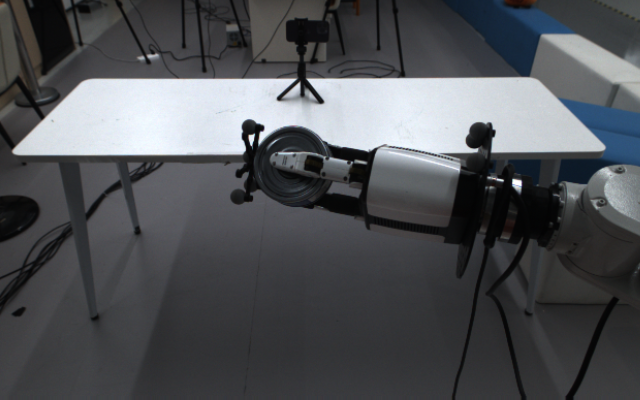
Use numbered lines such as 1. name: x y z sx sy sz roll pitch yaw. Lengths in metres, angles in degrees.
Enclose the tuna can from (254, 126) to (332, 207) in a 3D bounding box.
1. tuna can: -0.024 -0.034 0.527 0.085 0.085 0.034 9 -6 10
